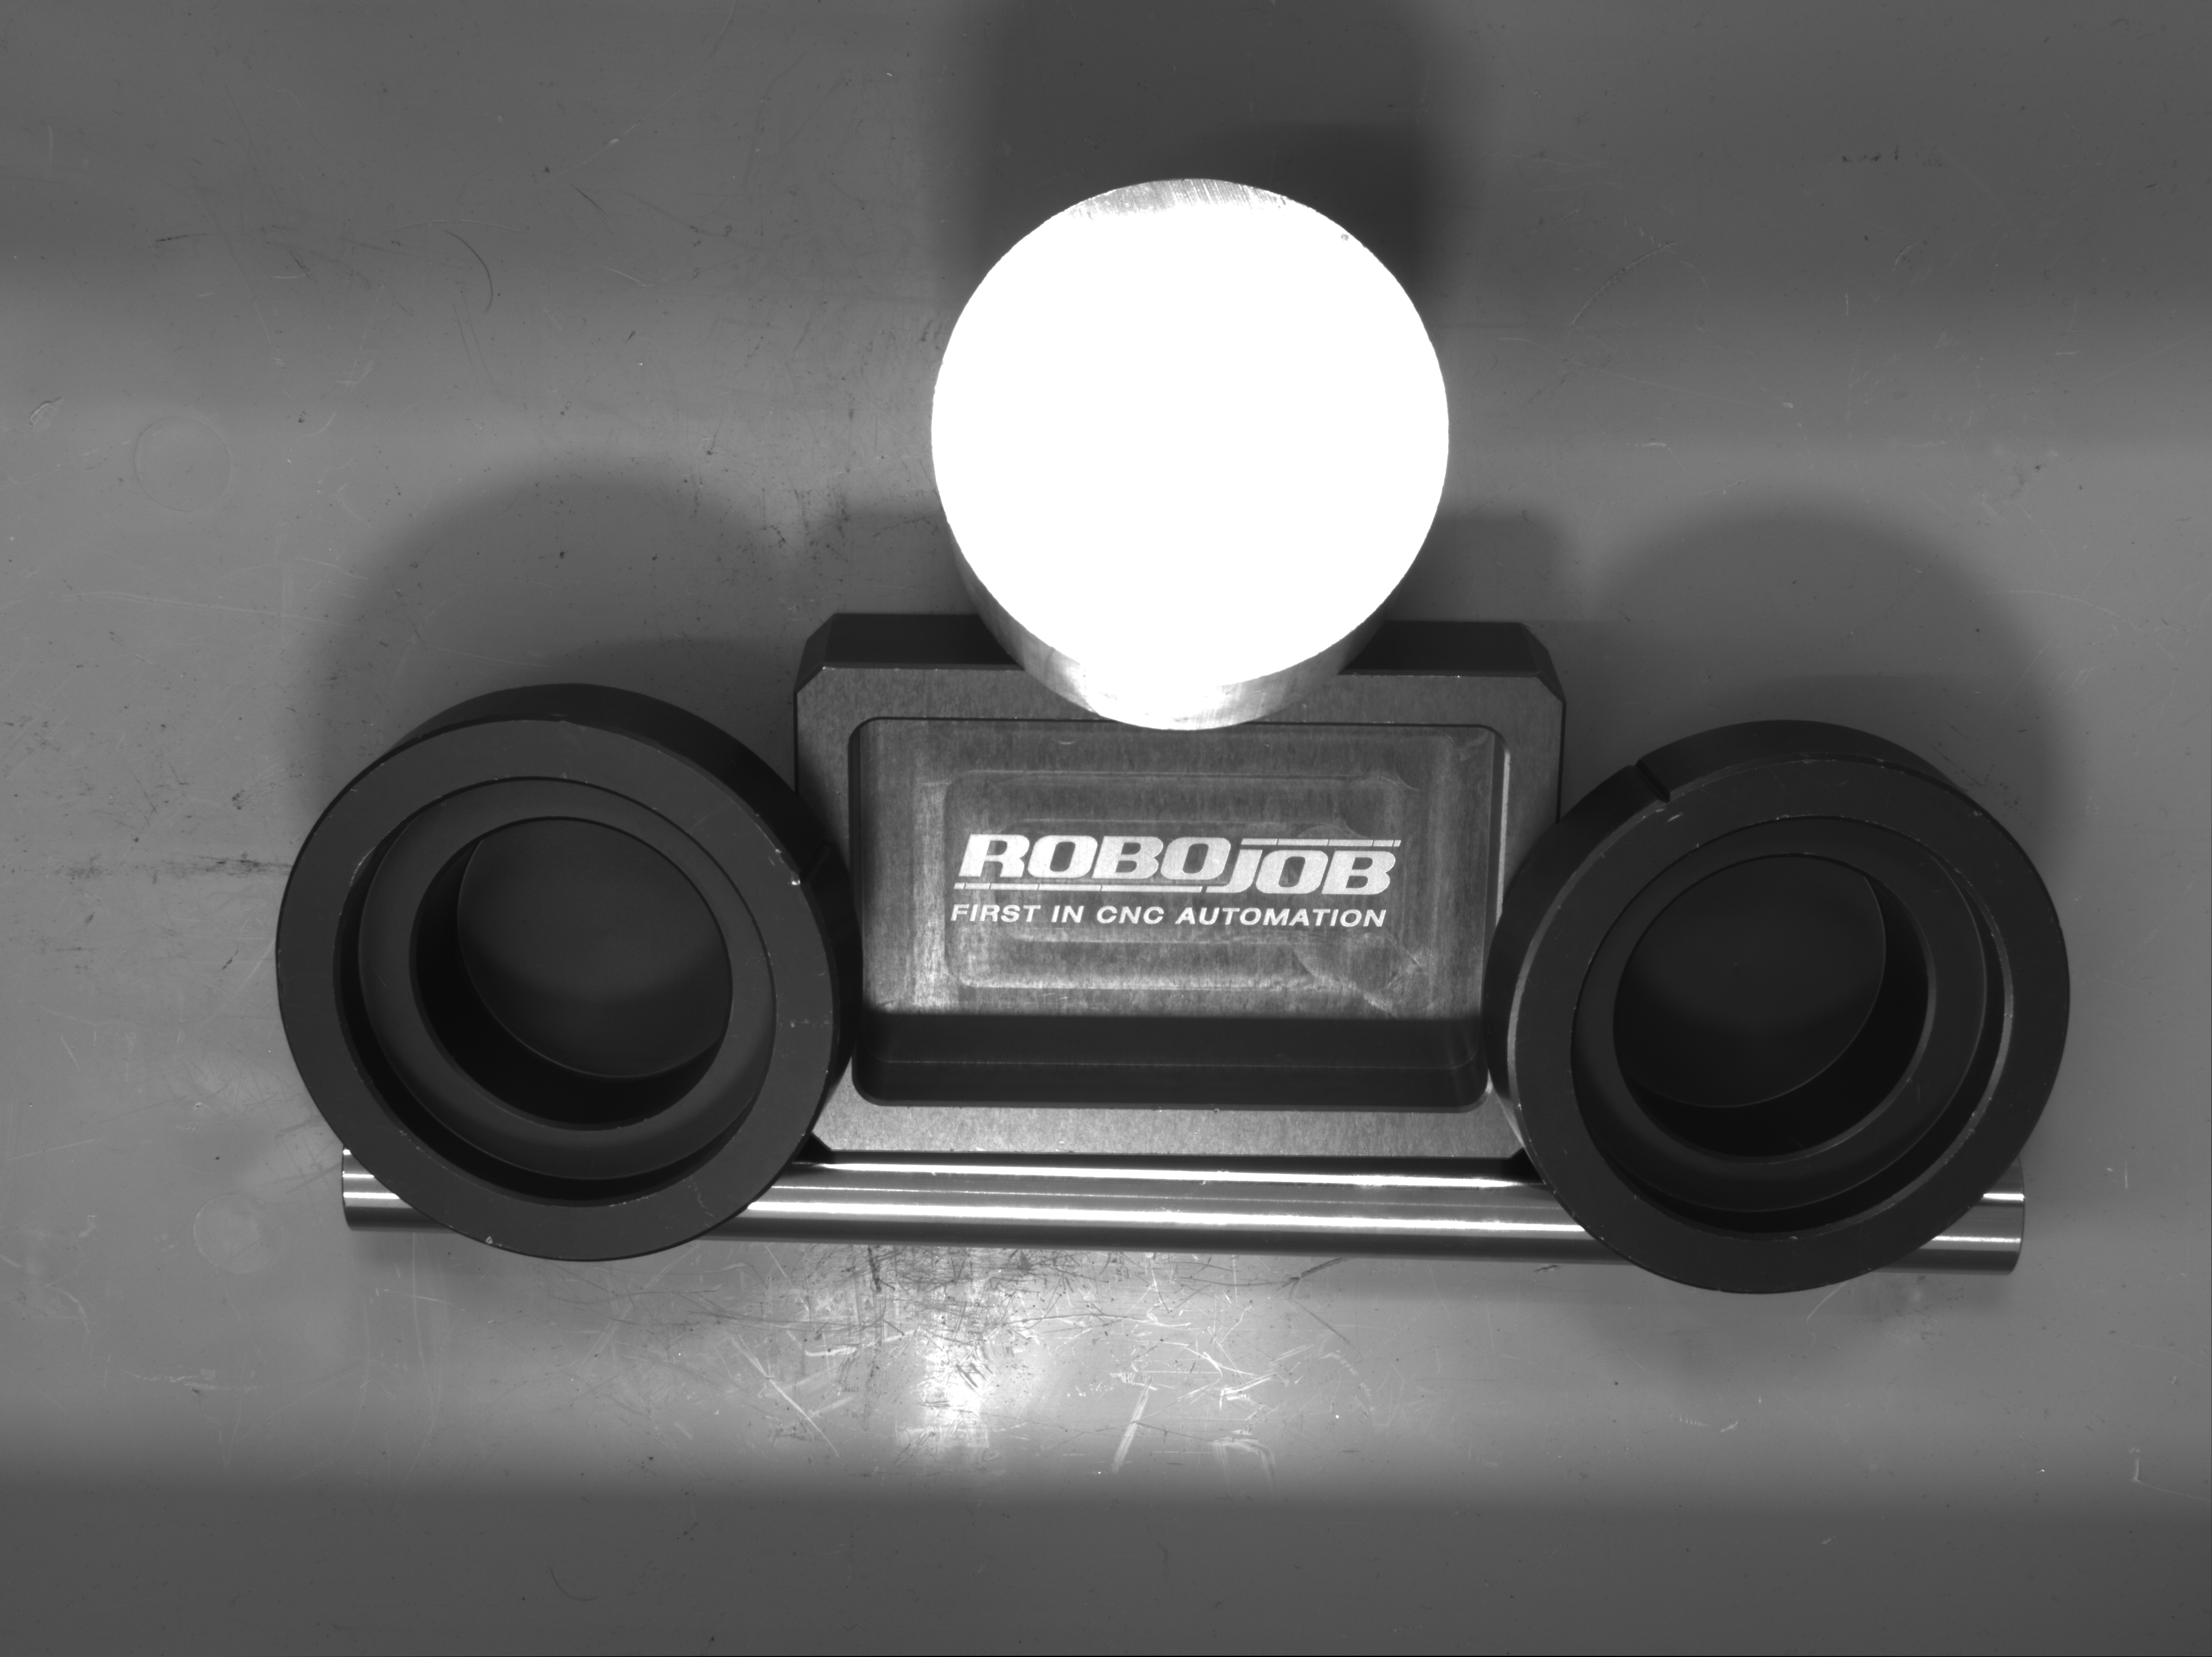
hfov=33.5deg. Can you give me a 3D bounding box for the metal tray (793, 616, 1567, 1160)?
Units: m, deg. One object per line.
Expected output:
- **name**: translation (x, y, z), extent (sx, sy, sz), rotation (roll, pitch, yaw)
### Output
- **metal tray**: translation (0.012, 0.011, 0.643), extent (0.130, 0.030, 0.090), rotation (1, 111, -1)

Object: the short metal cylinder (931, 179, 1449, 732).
- **short metal cylinder**: translation (0.013, -0.059, 0.592), extent (0.080, 0.050, 0.080), rotation (0, 84, 0)

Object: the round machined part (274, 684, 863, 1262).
- **round machined part**: translation (-0.090, 0.022, 0.636), extent (0.098, 0.042, 0.098), rotation (2, 108, 8)

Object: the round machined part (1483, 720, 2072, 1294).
- **round machined part**: translation (0.113, 0.028, 0.638), extent (0.098, 0.042, 0.098), rotation (-2, 108, -7)

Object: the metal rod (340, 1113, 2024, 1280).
- **metal rod**: translation (0.014, 0.065, 0.666), extent (0.300, 0.025, 0.025), rotation (2, 110, -1)
